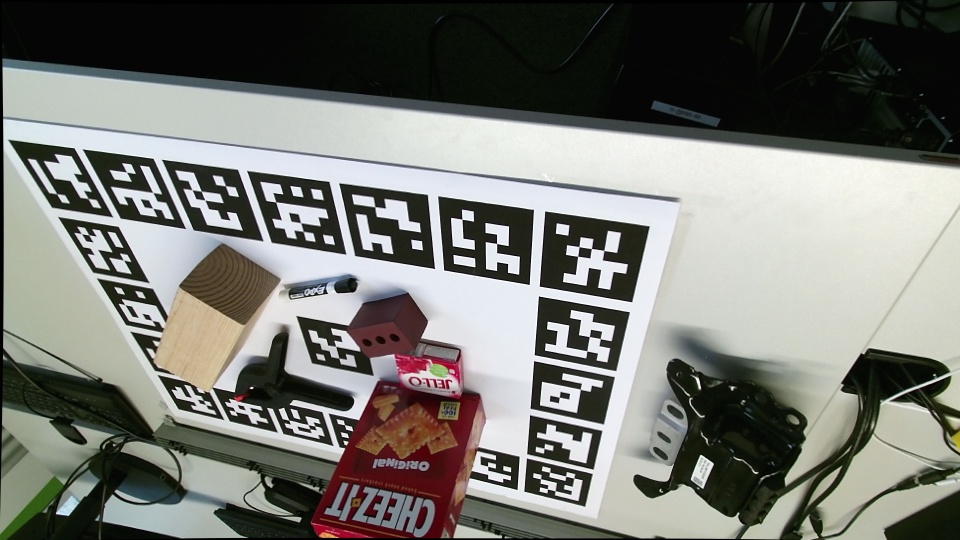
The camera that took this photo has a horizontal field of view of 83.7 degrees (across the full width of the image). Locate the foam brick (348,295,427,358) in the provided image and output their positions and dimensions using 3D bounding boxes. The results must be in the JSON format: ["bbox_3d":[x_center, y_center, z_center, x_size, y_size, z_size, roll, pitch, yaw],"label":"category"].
[{"bbox_3d":[-0.116,0.072,0.671,0.078,0.051,0.053,-13,120,25],"label":"foam brick"}]

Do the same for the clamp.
[{"bbox_3d":[-0.322,0.183,0.831,0.203,0.036,0.165,-19,118,28],"label":"clamp"}]

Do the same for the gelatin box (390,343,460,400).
[{"bbox_3d":[-0.073,0.135,0.723,0.089,0.030,0.073,8,126,12],"label":"gelatin box"}]

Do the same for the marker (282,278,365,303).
[{"bbox_3d":[-0.199,0.026,0.681,0.121,0.019,0.019,-9,121,23],"label":"marker"}]

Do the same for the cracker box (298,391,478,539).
[{"bbox_3d":[-0.111,0.270,0.711,0.165,0.213,0.072,7,129,15],"label":"cracker box"}]

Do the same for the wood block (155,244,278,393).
[{"bbox_3d":[-0.365,0.072,0.729,0.090,0.090,0.206,35,131,-13],"label":"wood block"}]
